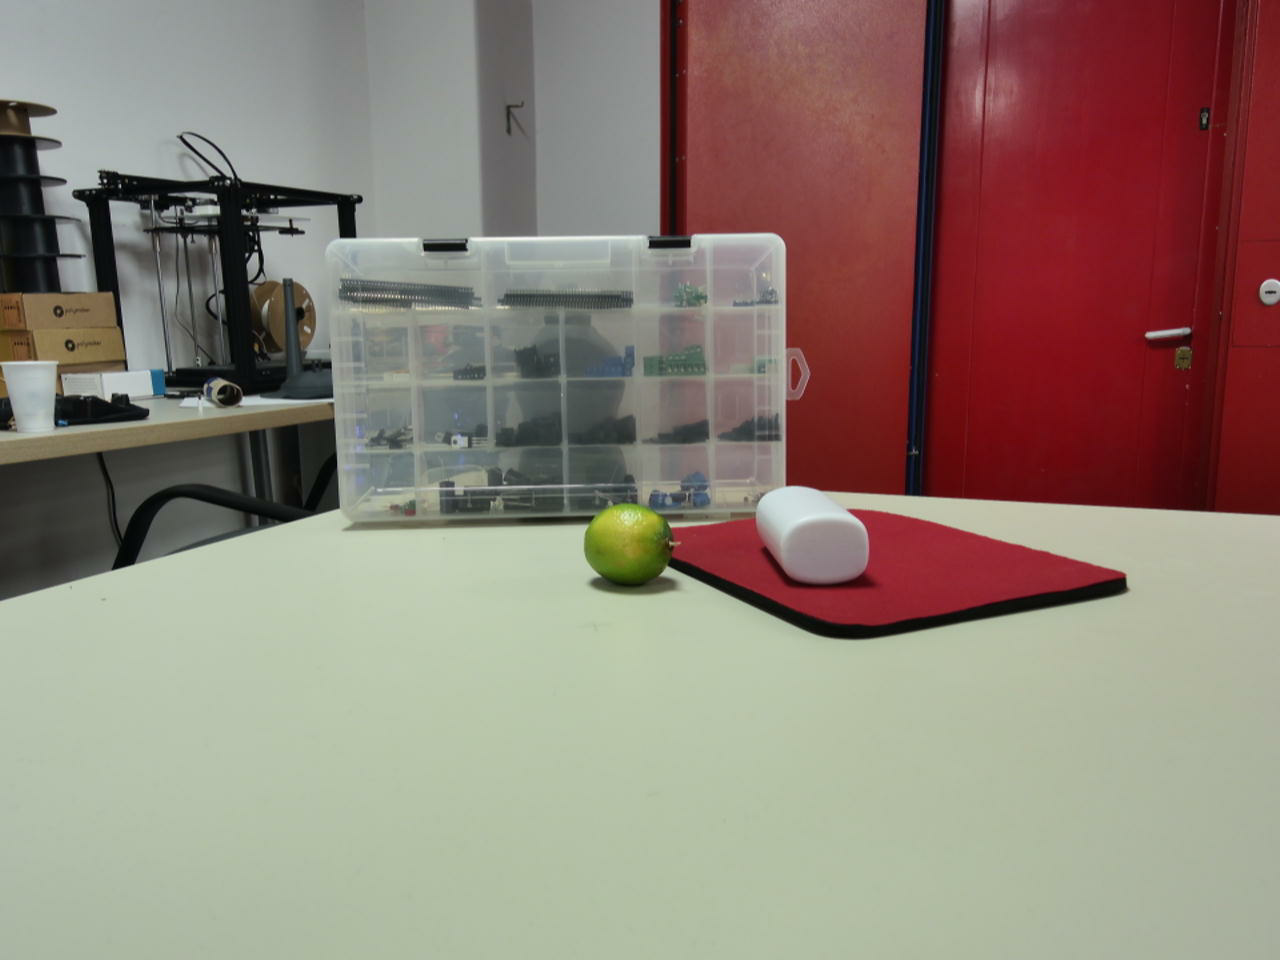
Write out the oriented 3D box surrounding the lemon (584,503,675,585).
[{"bbox_3d":[-0.007,0.040,0.628,0.054,0.050,0.055,-3,8,-17],"label":"lemon"}]
